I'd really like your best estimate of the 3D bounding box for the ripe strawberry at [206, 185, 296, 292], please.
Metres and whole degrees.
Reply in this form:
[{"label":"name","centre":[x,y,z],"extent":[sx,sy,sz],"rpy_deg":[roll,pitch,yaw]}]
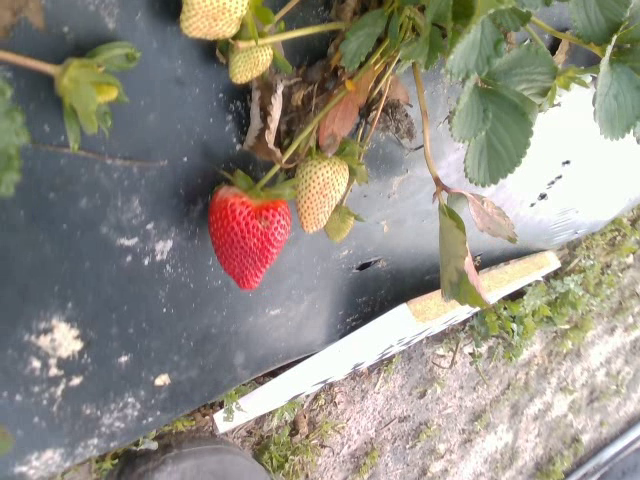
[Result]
[{"label":"ripe strawberry","centre":[-0.035,-0.001,0.303],"extent":[0.050,0.059,0.033],"rpy_deg":[-12,22,-36]}]
